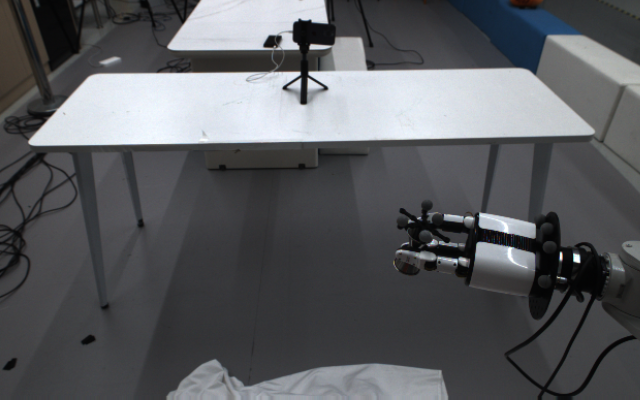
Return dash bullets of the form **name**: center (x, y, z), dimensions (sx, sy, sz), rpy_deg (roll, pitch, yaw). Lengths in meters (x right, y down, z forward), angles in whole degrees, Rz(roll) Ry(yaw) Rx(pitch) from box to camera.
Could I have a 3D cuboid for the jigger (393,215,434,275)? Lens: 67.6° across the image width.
- **jigger**: center (0.143, 0.077, 0.750), dimensions (0.043, 0.071, 0.043), rpy_deg (10, 36, -7)
